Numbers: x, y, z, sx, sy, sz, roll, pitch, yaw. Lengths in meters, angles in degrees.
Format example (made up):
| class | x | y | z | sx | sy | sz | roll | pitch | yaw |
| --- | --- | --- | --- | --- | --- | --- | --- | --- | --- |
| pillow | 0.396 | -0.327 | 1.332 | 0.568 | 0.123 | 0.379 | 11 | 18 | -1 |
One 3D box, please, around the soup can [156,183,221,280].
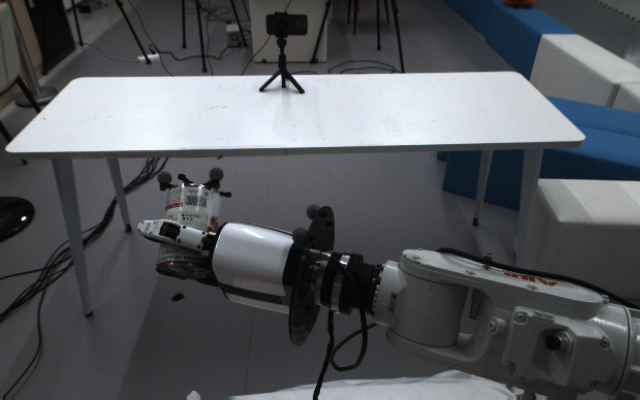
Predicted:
| class | x | y | z | sx | sy | sz | roll | pitch | yaw |
| --- | --- | --- | --- | --- | --- | --- | --- | --- | --- |
| soup can | -0.155 | 0.040 | 0.585 | 0.067 | 0.067 | 0.101 | 1 | 68 | -1 |
